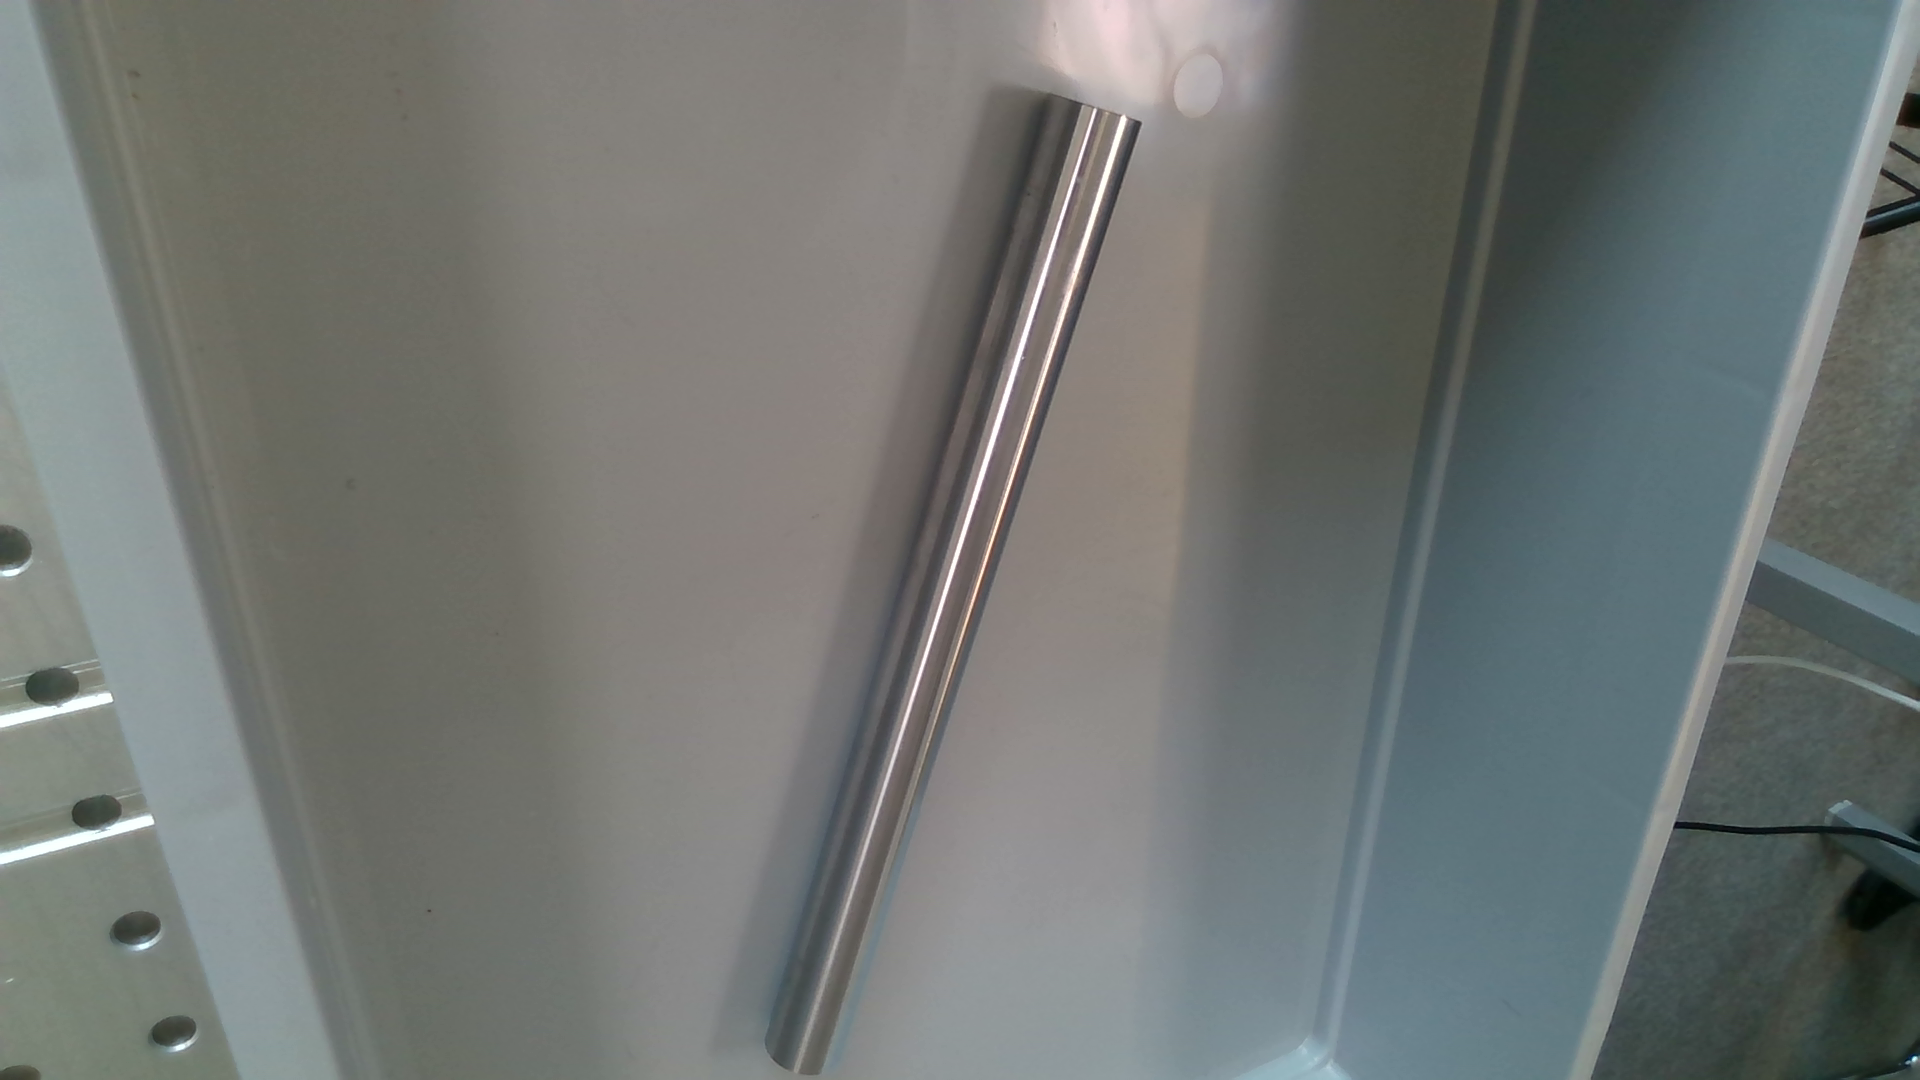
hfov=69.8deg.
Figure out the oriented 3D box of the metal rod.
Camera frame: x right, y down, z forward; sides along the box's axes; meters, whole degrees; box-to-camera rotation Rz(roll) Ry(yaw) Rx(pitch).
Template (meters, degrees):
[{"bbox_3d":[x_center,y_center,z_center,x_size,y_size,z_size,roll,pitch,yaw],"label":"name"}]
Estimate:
[{"bbox_3d":[-0.008,0.026,0.396,0.025,0.025,0.301,5,112,-33],"label":"metal rod"}]
